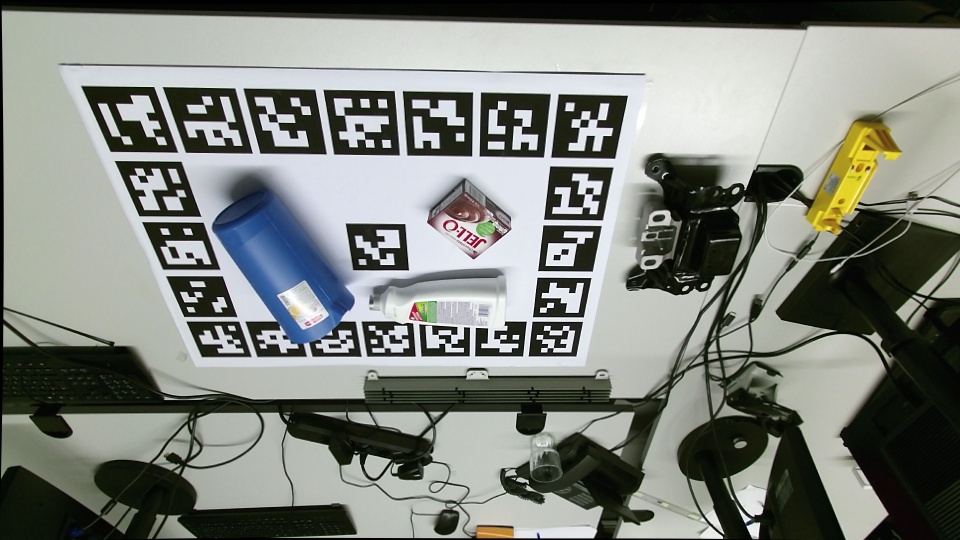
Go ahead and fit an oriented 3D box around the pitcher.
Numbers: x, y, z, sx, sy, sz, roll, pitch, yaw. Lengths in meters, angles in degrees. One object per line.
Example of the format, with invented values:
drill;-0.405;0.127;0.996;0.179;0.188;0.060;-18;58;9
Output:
pitcher;-0.336;-0.016;0.900;0.189;0.133;0.243;2;129;41

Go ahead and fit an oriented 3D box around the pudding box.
pudding box;-0.014;-0.083;0.889;0.090;0.038;0.114;-35;118;28

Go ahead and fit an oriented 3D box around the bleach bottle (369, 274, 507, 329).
bleach bottle;-0.078;0.061;0.984;0.252;0.067;0.102;-1;122;2
